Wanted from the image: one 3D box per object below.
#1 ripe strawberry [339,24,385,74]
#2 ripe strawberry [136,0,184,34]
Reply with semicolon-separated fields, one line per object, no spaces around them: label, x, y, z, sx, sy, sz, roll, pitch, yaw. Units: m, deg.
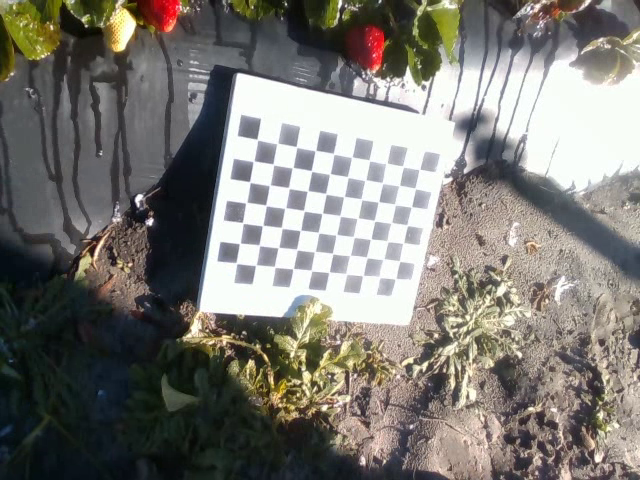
ripe strawberry;0.056;-0.214;0.697;0.049;0.061;0.044;-2;-18;-23
ripe strawberry;-0.155;-0.220;0.610;0.043;0.061;0.046;-10;-25;-21
